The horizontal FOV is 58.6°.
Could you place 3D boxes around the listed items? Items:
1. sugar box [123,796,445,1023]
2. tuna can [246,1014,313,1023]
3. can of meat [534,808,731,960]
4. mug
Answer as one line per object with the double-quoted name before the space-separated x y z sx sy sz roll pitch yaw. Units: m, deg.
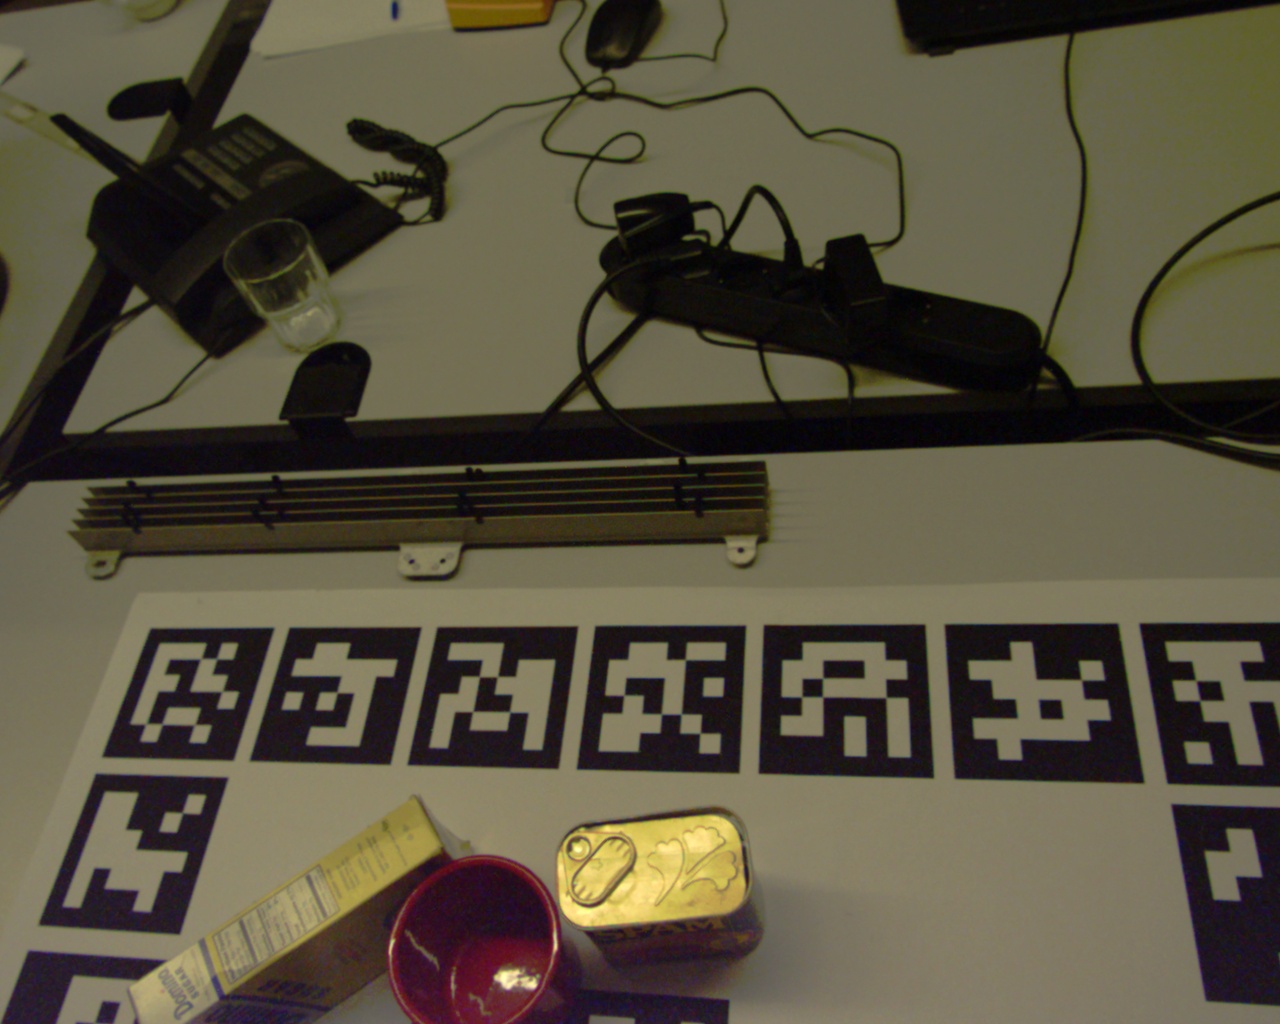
"sugar box" -0.194 0.243 0.664 0.176 0.092 0.046 -32 54 -10
"tuna can" -0.201 0.329 0.635 0.086 0.033 0.086 -7 57 10
"can of meat" -0.001 0.212 0.642 0.102 0.083 0.058 -7 54 7
"mug" -0.105 0.252 0.632 0.094 0.081 0.117 22 66 25
